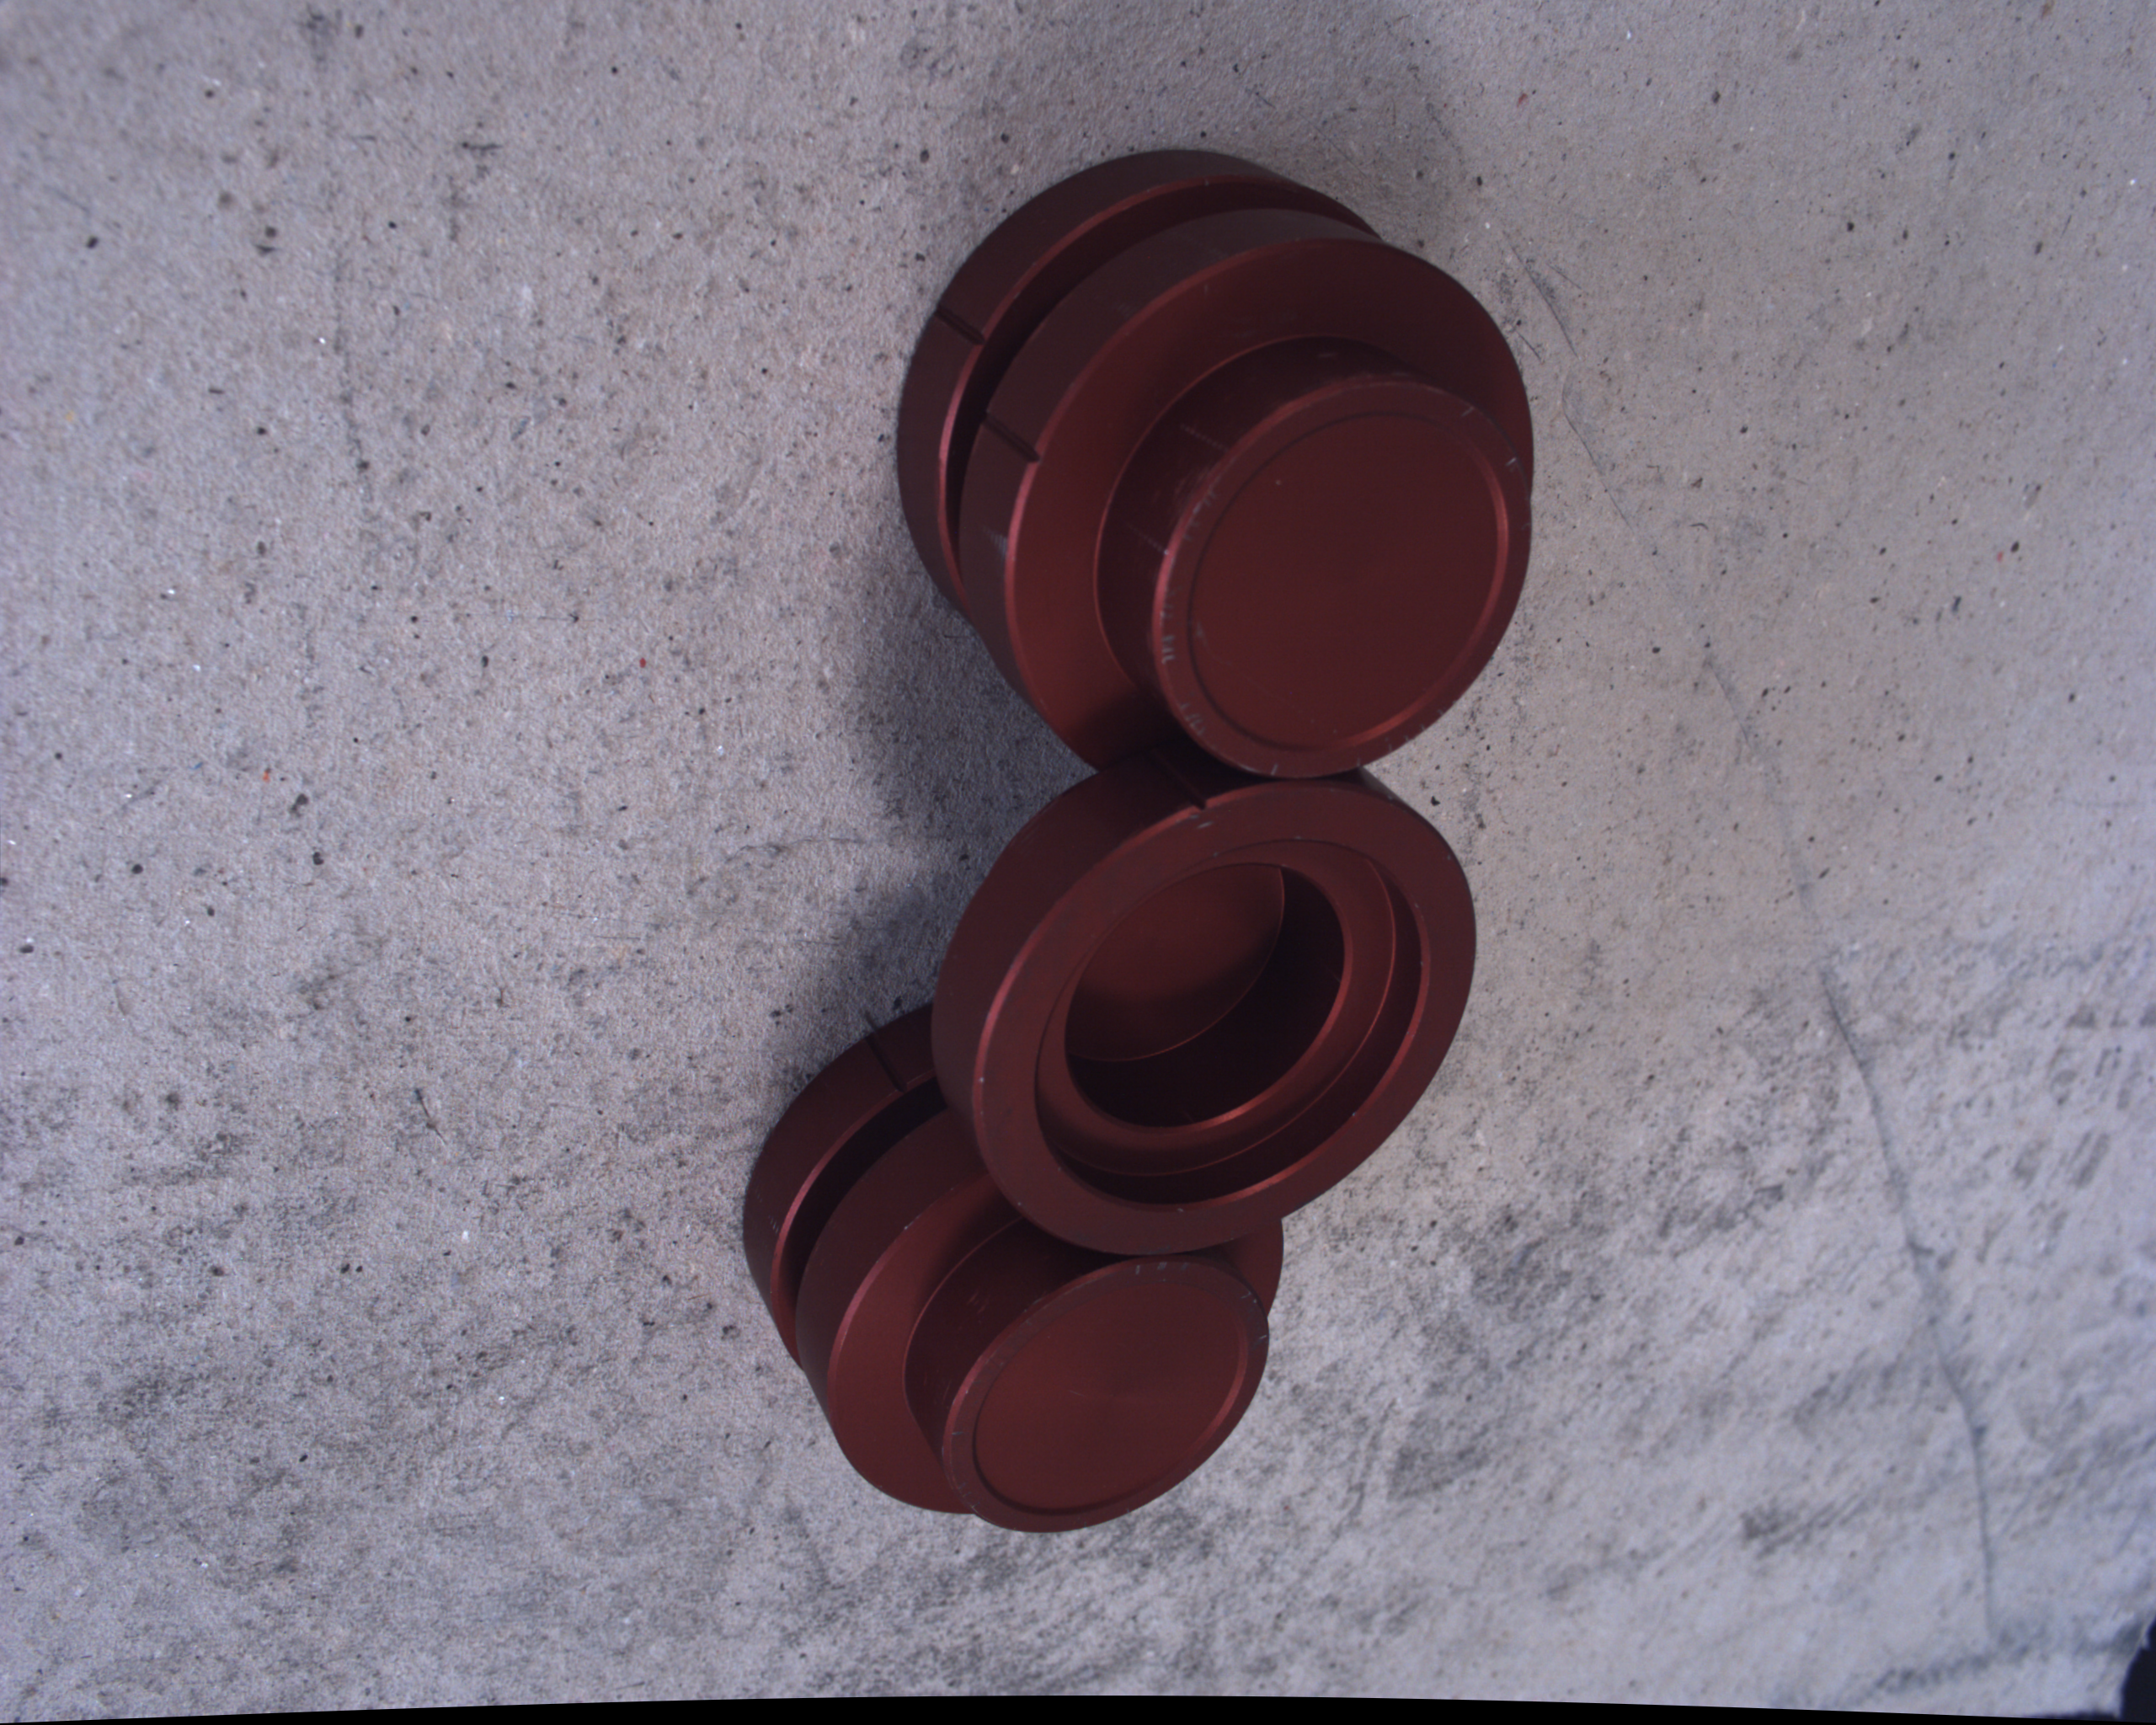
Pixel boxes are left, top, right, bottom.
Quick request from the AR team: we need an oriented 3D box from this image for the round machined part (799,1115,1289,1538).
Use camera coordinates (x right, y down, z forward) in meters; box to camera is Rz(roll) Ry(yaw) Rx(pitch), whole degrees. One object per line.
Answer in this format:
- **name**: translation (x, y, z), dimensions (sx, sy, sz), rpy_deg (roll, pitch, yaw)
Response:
- **round machined part**: translation (-0.001, 0.093, 0.410), dimensions (0.099, 0.042, 0.097), rpy_deg (-13, 124, -20)

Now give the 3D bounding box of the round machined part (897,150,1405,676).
- **round machined part**: translation (0.022, -0.070, 0.365), dimensions (0.099, 0.042, 0.097), rpy_deg (-13, 124, -19)

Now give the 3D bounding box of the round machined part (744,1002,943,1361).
- **round machined part**: translation (-0.017, 0.078, 0.438), dimensions (0.099, 0.042, 0.097), rpy_deg (-13, 123, -21)

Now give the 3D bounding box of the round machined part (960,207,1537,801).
- **round machined part**: translation (0.034, -0.053, 0.341), dimensions (0.099, 0.042, 0.097), rpy_deg (-13, 124, -20)

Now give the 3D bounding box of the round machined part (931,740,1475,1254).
- **round machined part**: translation (0.019, 0.019, 0.378), dimensions (0.099, 0.042, 0.097), rpy_deg (-14, 124, -21)
